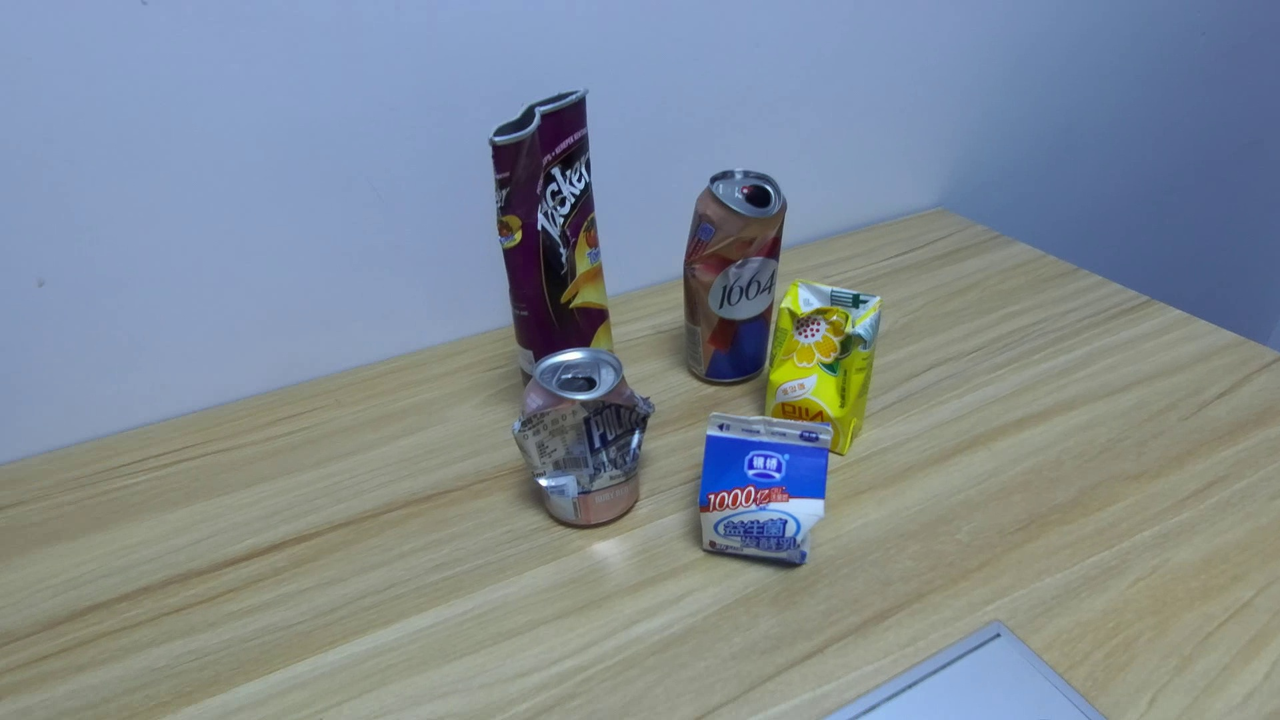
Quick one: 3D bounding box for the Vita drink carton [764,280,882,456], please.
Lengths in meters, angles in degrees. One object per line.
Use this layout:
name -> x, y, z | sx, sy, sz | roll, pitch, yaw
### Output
Vita drink carton -> 0.127, 0.006, 0.500 | 0.071, 0.110, 0.046 | 17, 36, 28

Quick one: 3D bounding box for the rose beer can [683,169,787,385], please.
rose beer can -> 0.071, -0.061, 0.553 | 0.070, 0.168, 0.069 | 7, 39, 8

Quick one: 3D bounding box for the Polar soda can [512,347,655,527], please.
Polar soda can -> -0.033, 0.049, 0.454 | 0.070, 0.114, 0.074 | 15, 41, 18

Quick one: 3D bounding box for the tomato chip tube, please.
tomato chip tube -> -0.058, -0.057, 0.501 | 0.090, 0.236, 0.077 | -16, 38, -20

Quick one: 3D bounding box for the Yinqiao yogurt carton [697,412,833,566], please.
Yinqiao yogurt carton -> 0.076, 0.069, 0.424 | 0.074, 0.097, 0.080 | 5, 43, 12
